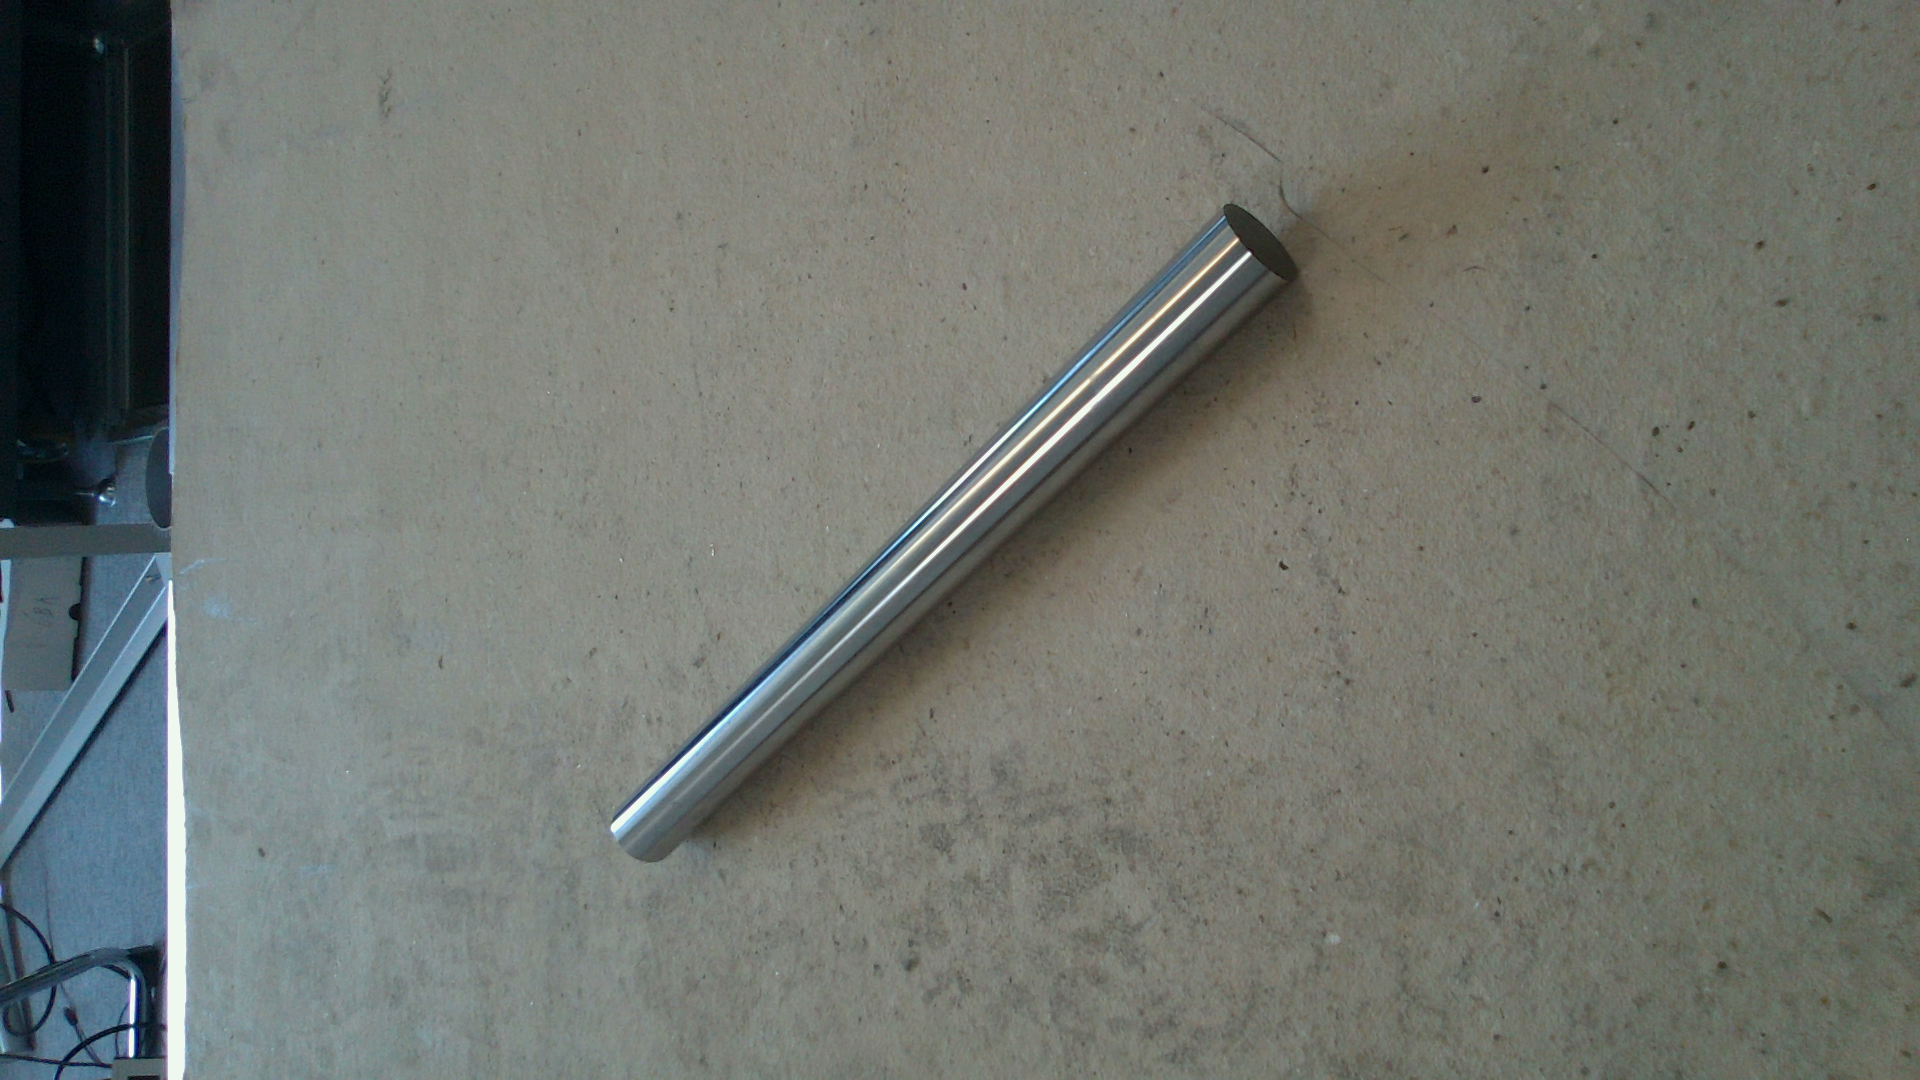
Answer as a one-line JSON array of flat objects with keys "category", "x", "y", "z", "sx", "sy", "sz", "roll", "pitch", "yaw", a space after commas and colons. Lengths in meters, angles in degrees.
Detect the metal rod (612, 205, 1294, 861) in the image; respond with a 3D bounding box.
[{"category": "metal rod", "x": -0.020, "y": 0.015, "z": 0.413, "sx": 0.299, "sy": 0.025, "sz": 0.025, "roll": -43, "pitch": 64, "yaw": 31}]
